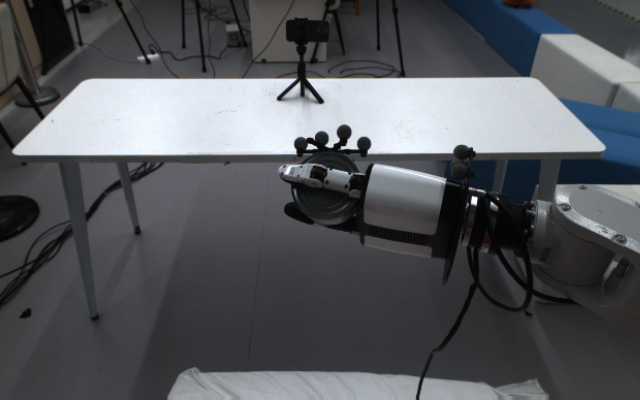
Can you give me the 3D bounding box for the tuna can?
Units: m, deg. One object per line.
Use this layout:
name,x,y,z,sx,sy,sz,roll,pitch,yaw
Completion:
tuna can,0.013,-0.009,0.583,0.085,0.034,0.085,-3,73,10
